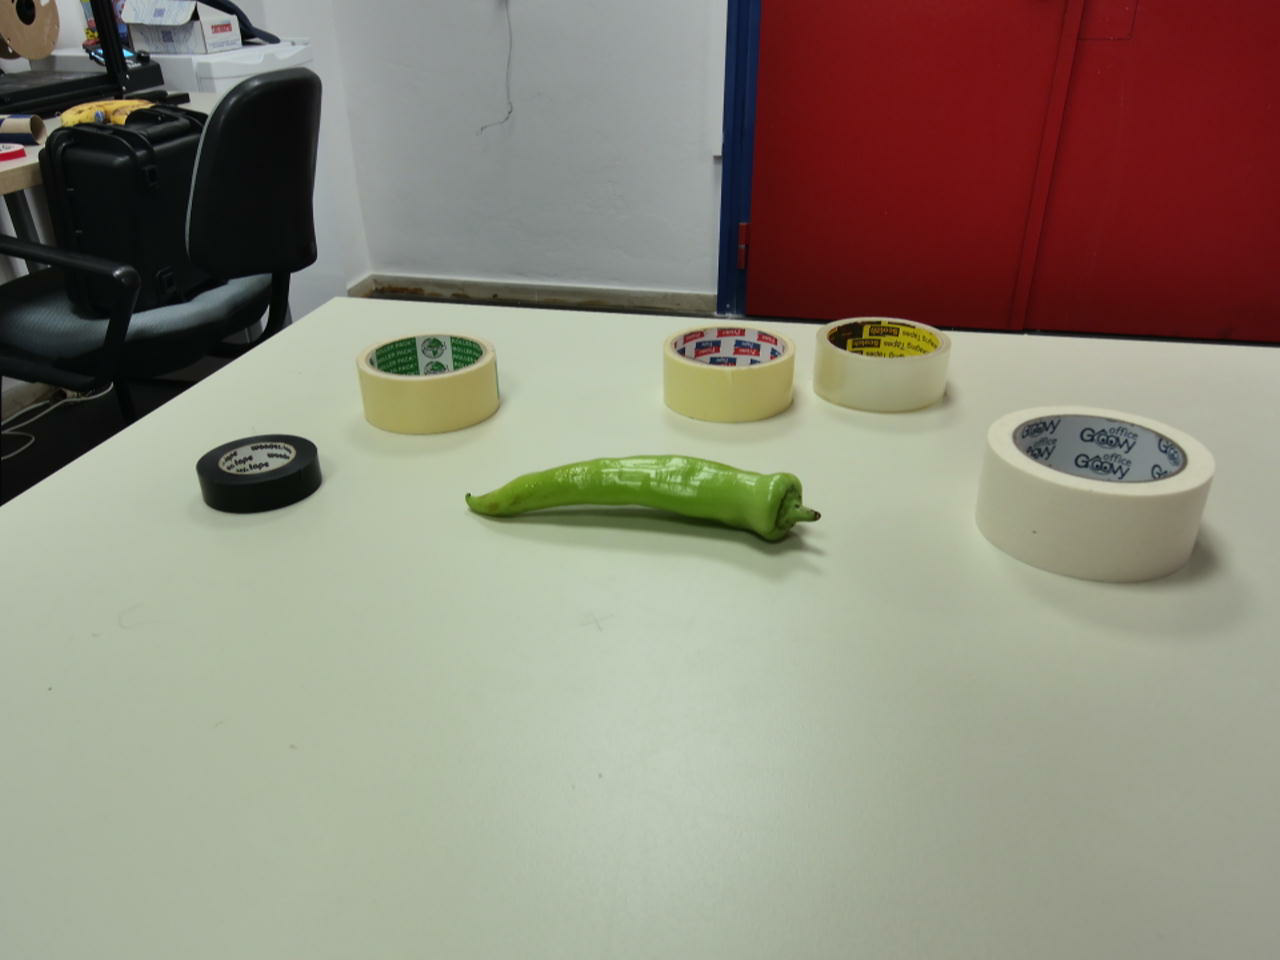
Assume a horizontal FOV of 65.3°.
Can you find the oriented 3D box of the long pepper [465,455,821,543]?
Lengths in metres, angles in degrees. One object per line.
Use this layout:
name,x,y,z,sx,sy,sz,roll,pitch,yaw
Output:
long pepper,0.000,0.004,0.541,0.197,0.038,0.046,6,26,13
